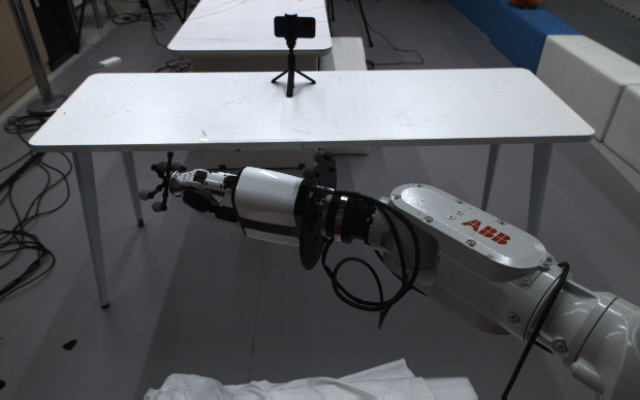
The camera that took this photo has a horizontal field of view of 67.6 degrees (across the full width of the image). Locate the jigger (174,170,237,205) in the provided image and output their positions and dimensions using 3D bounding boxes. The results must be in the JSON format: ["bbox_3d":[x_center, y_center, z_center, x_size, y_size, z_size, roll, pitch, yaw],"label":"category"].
[{"bbox_3d":[-0.172,-0.022,0.697,0.071,0.043,0.043,10,35,16],"label":"jigger"}]
